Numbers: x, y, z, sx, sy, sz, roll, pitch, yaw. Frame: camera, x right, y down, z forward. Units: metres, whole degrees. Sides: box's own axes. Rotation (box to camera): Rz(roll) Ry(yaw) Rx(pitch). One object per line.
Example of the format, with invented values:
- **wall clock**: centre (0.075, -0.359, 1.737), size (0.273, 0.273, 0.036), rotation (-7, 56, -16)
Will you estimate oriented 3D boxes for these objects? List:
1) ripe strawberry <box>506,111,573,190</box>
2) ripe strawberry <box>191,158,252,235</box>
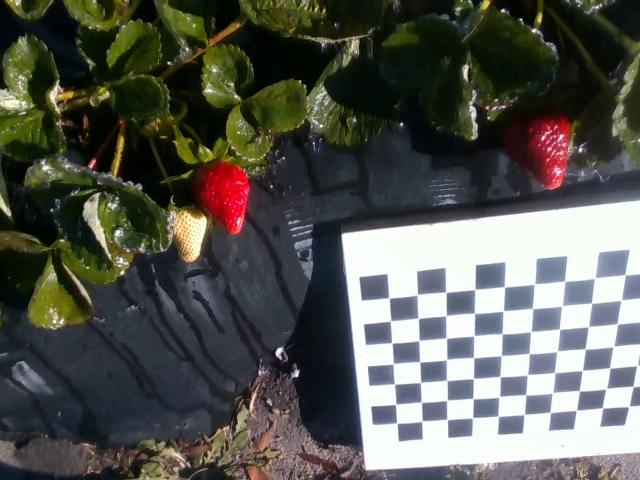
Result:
- **ripe strawberry**: centre (0.156, -0.060, 0.408), size (0.049, 0.061, 0.044), rotation (-12, -5, 7)
- **ripe strawberry**: centre (-0.068, -0.028, 0.434), size (0.042, 0.061, 0.046), rotation (-18, -15, 10)
